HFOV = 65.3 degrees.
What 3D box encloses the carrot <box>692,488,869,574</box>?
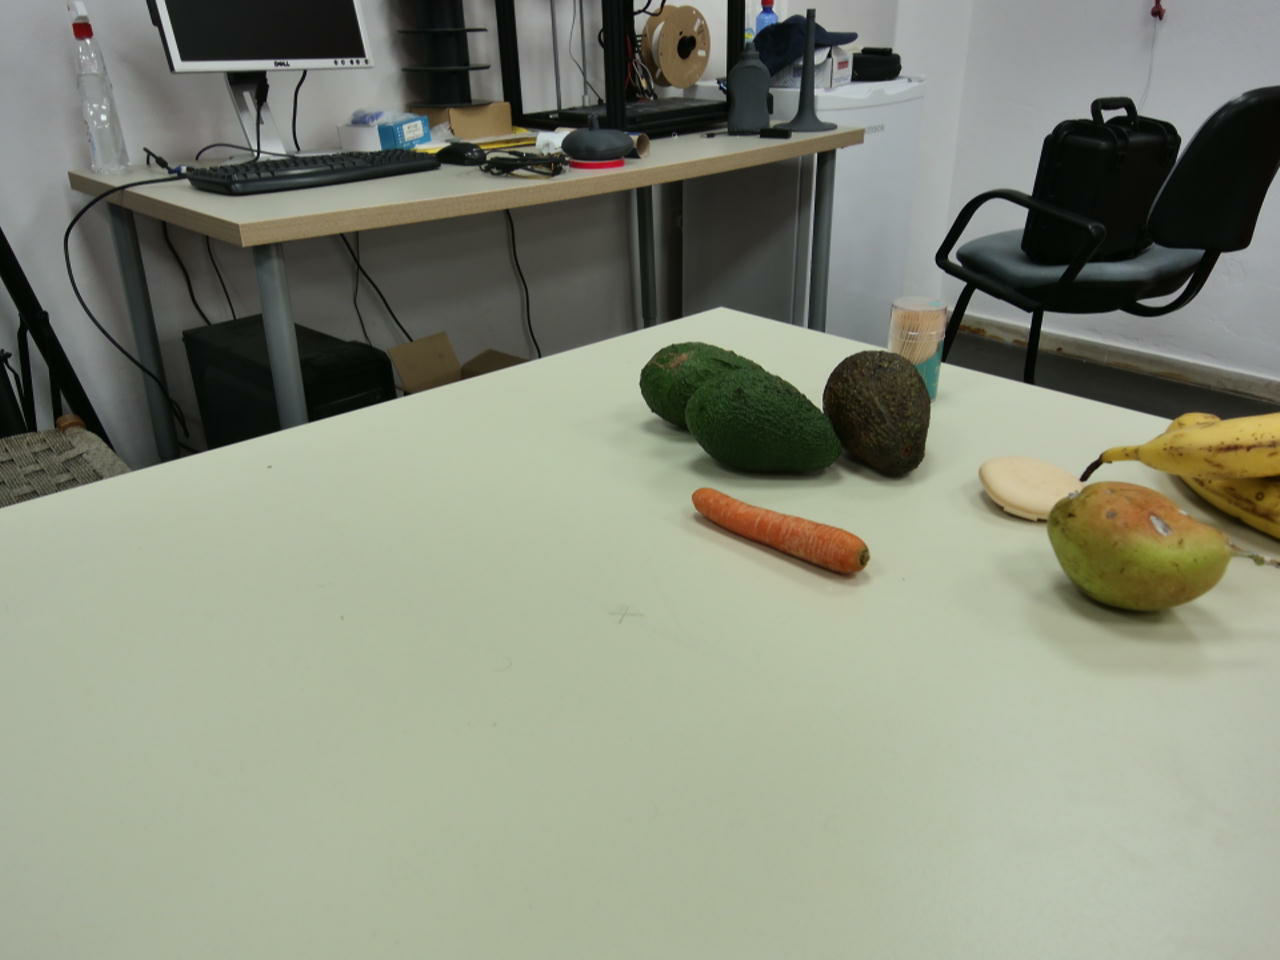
[{"bbox_3d":[0.076,0.026,0.568,0.024,0.023,0.122,-21,31,-40],"label":"carrot"}]
